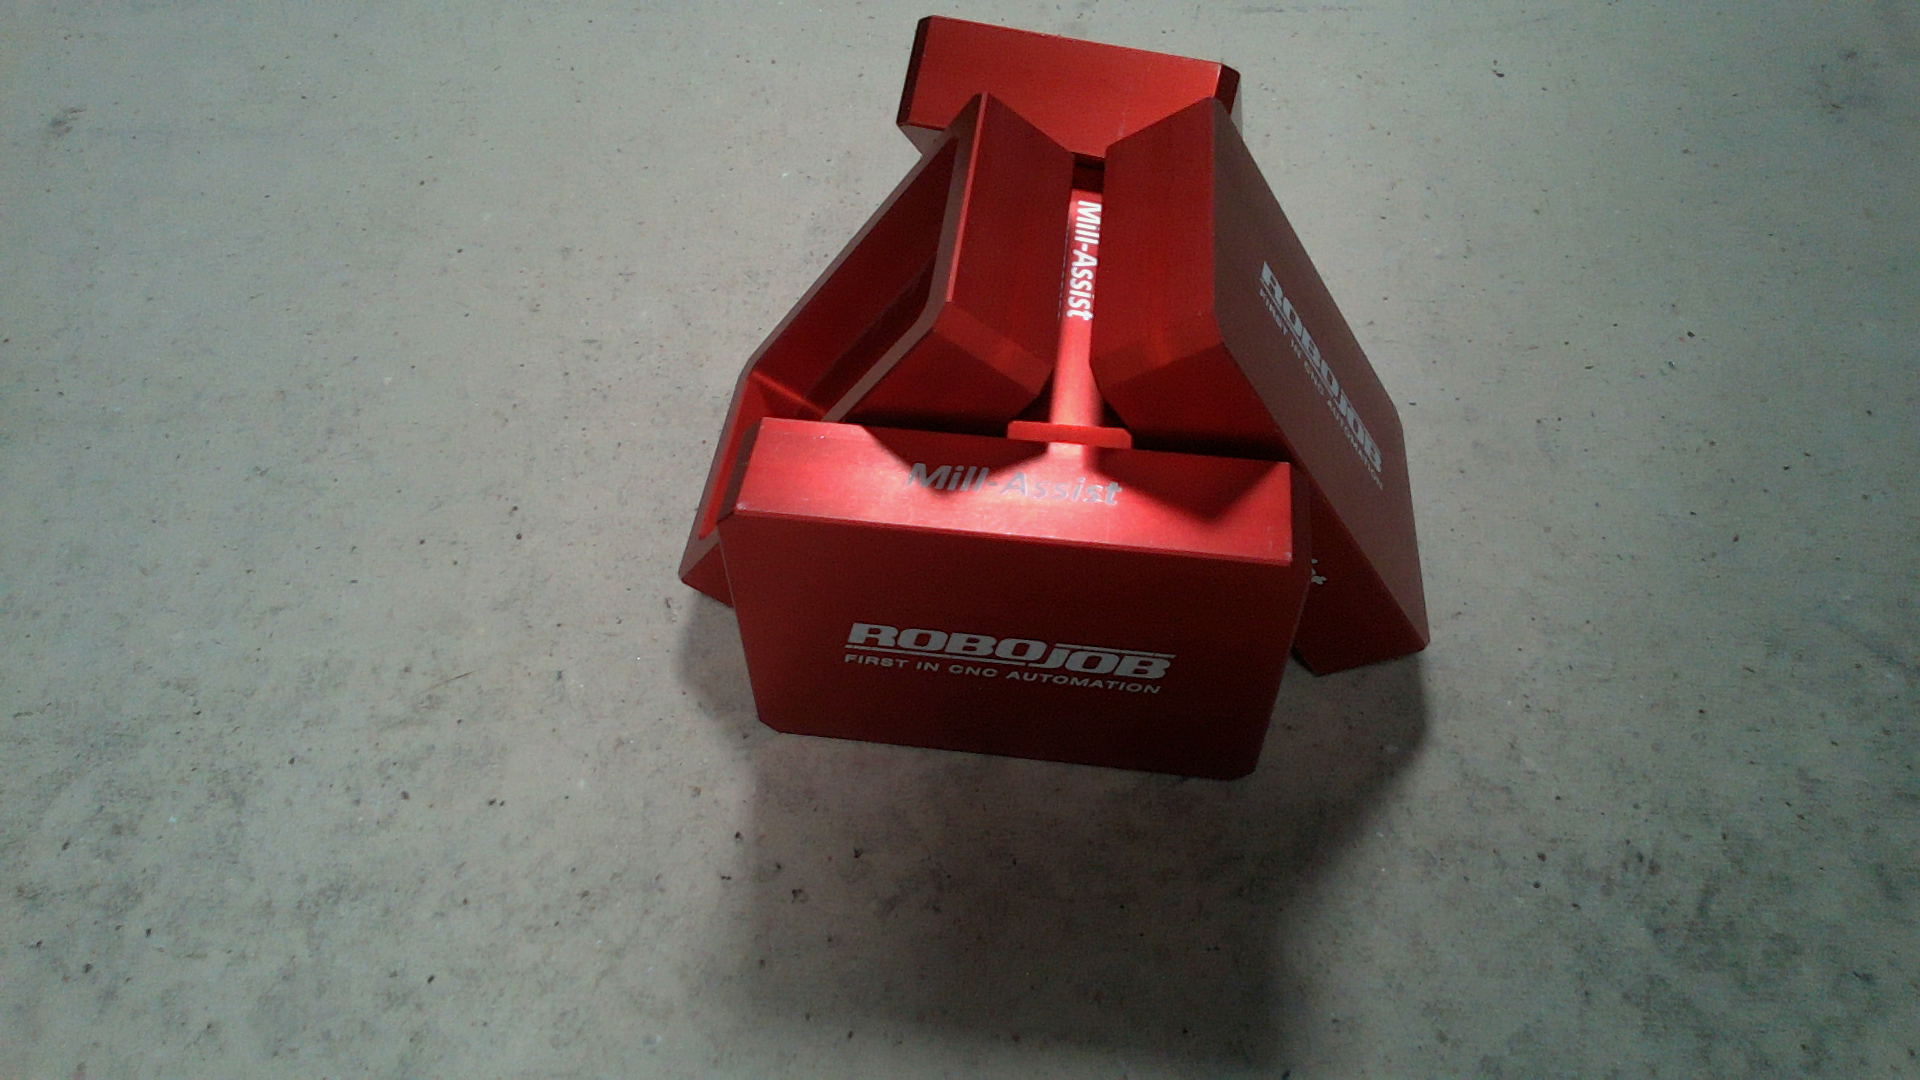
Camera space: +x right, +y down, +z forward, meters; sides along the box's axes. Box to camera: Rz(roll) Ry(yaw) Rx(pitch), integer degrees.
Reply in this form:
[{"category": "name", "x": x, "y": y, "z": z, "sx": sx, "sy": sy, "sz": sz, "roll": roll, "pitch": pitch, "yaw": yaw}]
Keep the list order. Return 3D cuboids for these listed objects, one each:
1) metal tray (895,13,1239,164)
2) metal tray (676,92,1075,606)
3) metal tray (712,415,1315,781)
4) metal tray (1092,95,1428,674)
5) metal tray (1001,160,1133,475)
[{"category": "metal tray", "x": 0.040, "y": -0.120, "z": 0.433, "sx": 0.090, "sy": 0.130, "sz": 0.030, "roll": 14, "pitch": 92, "yaw": 11}, {"category": "metal tray", "x": -0.024, "y": -0.045, "z": 0.366, "sx": 0.030, "sy": 0.130, "sz": 0.090, "roll": 29, "pitch": 46, "yaw": -23}, {"category": "metal tray", "x": 0.012, "y": 0.017, "z": 0.335, "sx": 0.130, "sy": 0.090, "sz": 0.030, "roll": 5, "pitch": 50, "yaw": 5}, {"category": "metal tray", "x": 0.081, "y": -0.037, "z": 0.357, "sx": 0.030, "sy": 0.130, "sz": 0.090, "roll": -19, "pitch": 43, "yaw": 29}, {"category": "metal tray", "x": 0.032, "y": -0.044, "z": 0.386, "sx": 0.030, "sy": 0.090, "sz": 0.130, "roll": 5, "pitch": 50, "yaw": 5}]
